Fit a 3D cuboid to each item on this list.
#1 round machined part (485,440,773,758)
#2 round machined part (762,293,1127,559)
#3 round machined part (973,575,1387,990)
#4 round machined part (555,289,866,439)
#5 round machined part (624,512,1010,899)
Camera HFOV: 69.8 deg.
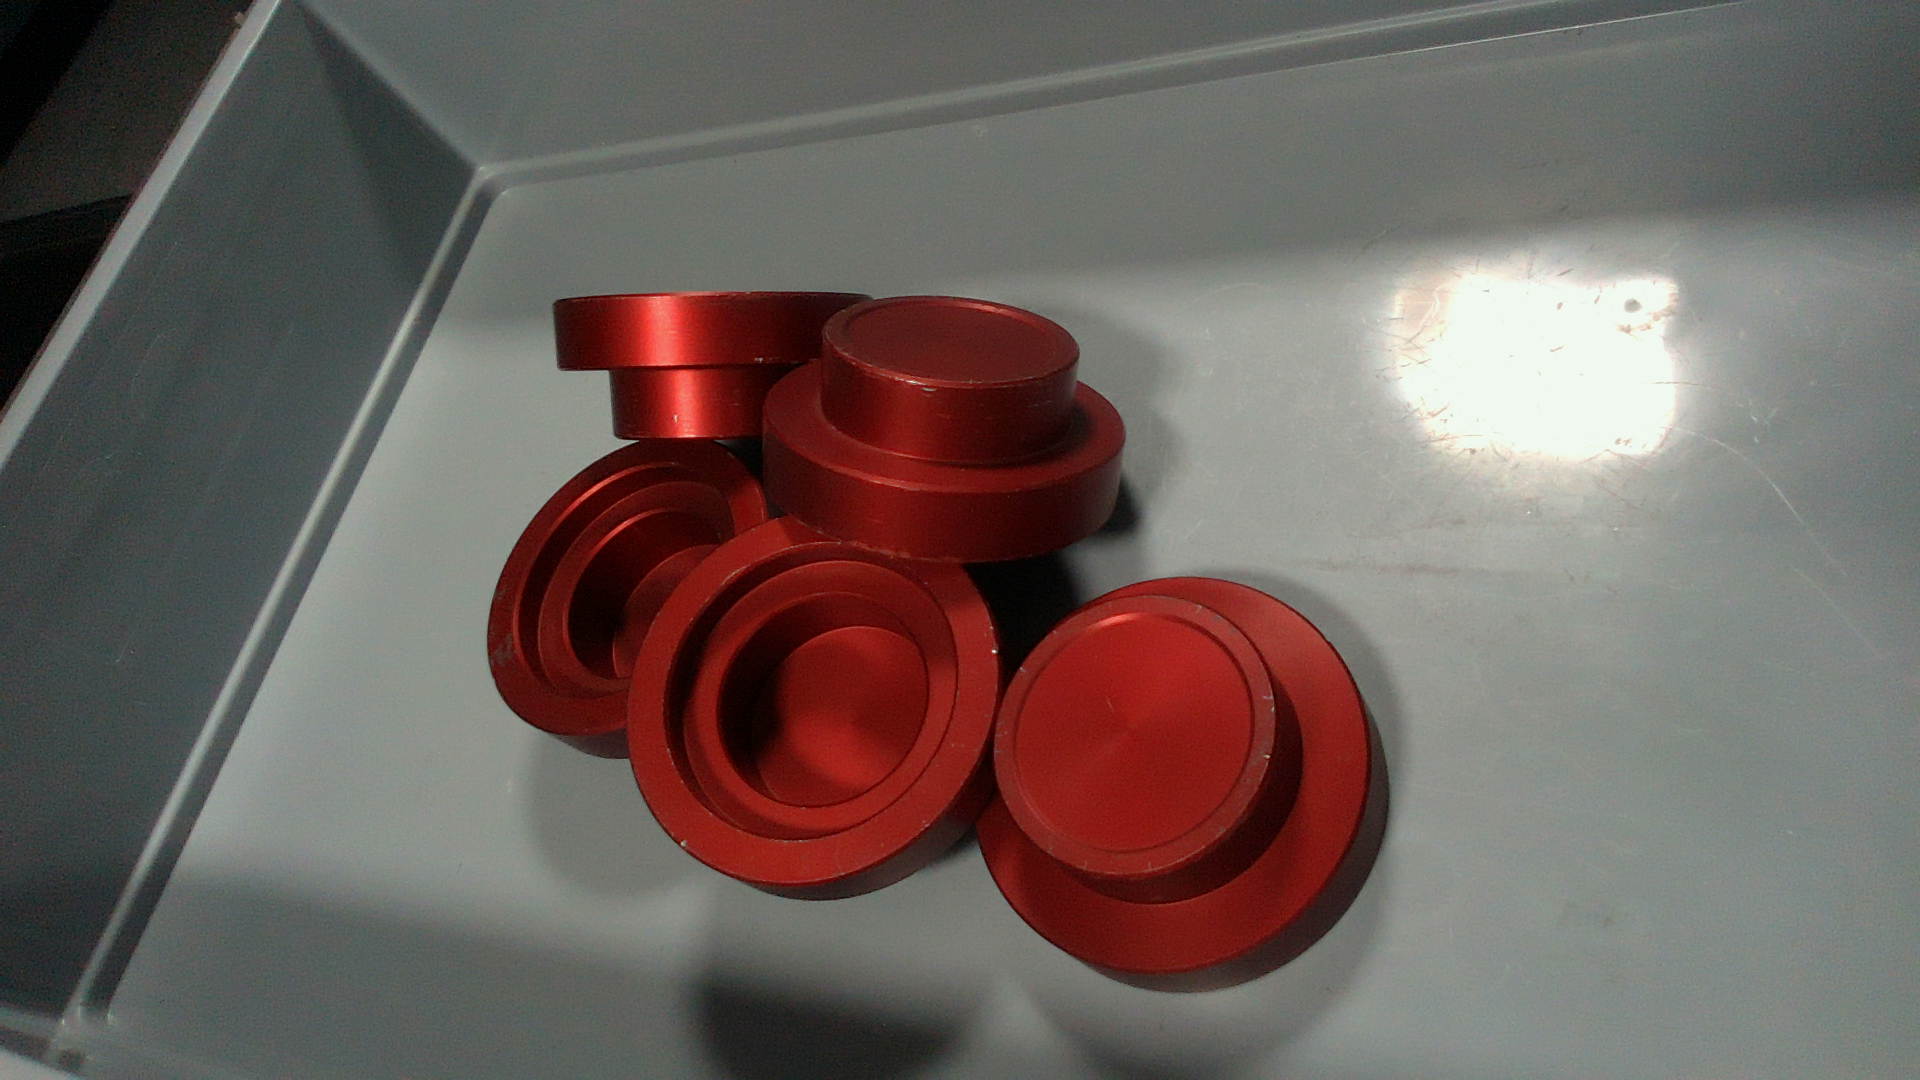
[{"bbox_3d":[-0.091,0.020,0.417,0.098,0.042,0.098,-13,56,21],"label":"round machined part"},{"bbox_3d":[-0.004,-0.036,0.370,0.098,0.042,0.098,4,27,-2],"label":"round machined part"},{"bbox_3d":[0.047,0.051,0.324,0.098,0.042,0.098,-13,56,21],"label":"round machined part"},{"bbox_3d":[-0.076,-0.055,0.433,0.098,0.098,0.042,2,98,30],"label":"round machined part"},{"bbox_3d":[-0.033,0.044,0.357,0.098,0.042,0.098,-5,67,12],"label":"round machined part"}]
